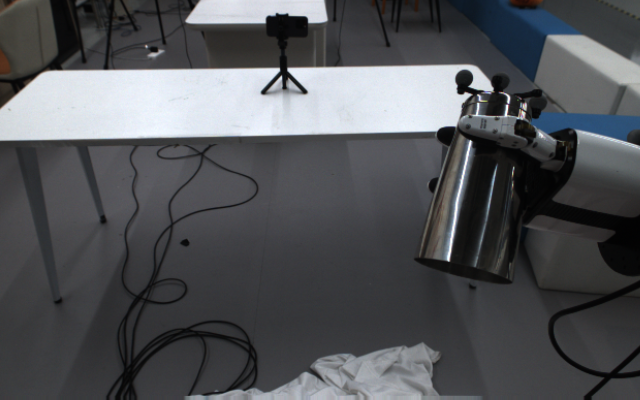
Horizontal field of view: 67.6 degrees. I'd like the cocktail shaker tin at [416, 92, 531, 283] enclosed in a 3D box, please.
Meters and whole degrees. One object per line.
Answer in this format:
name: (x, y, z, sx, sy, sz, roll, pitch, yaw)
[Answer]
cocktail shaker tin: (0.160, -0.016, 0.472, 0.093, 0.093, 0.170, 13, 79, 15)
